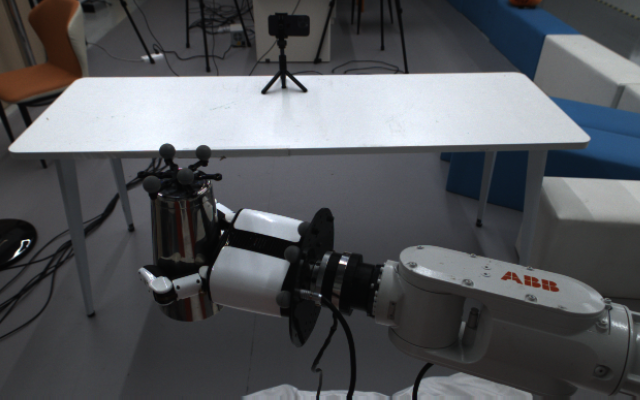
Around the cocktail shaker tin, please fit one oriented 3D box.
[{"bbox_3d":[-0.154,0.051,0.574,0.093,0.170,0.093,3,35,-2],"label":"cocktail shaker tin"}]
